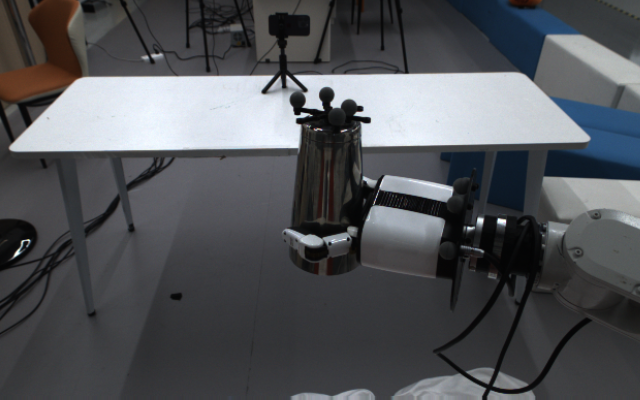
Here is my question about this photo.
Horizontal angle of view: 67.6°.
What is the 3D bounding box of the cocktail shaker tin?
[{"bbox_3d":[0.012,-0.009,0.562,0.093,0.170,0.093,1,28,-1],"label":"cocktail shaker tin"}]
